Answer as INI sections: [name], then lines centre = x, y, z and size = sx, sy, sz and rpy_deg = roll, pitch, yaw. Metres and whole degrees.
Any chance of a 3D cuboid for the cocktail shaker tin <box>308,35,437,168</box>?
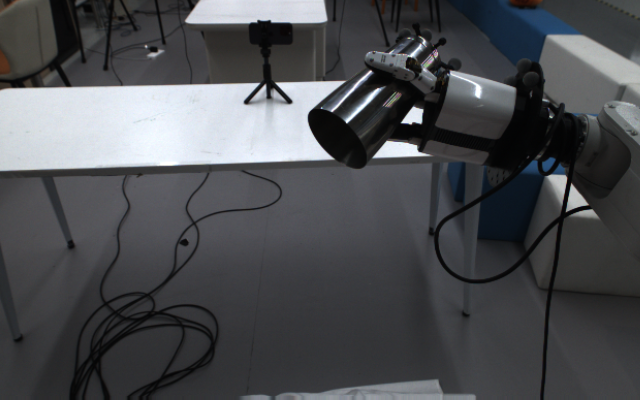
[cocktail shaker tin]
centre = 0.076, -0.133, 0.601
size = 0.093, 0.093, 0.170
rpy_deg = 32, 66, 35
